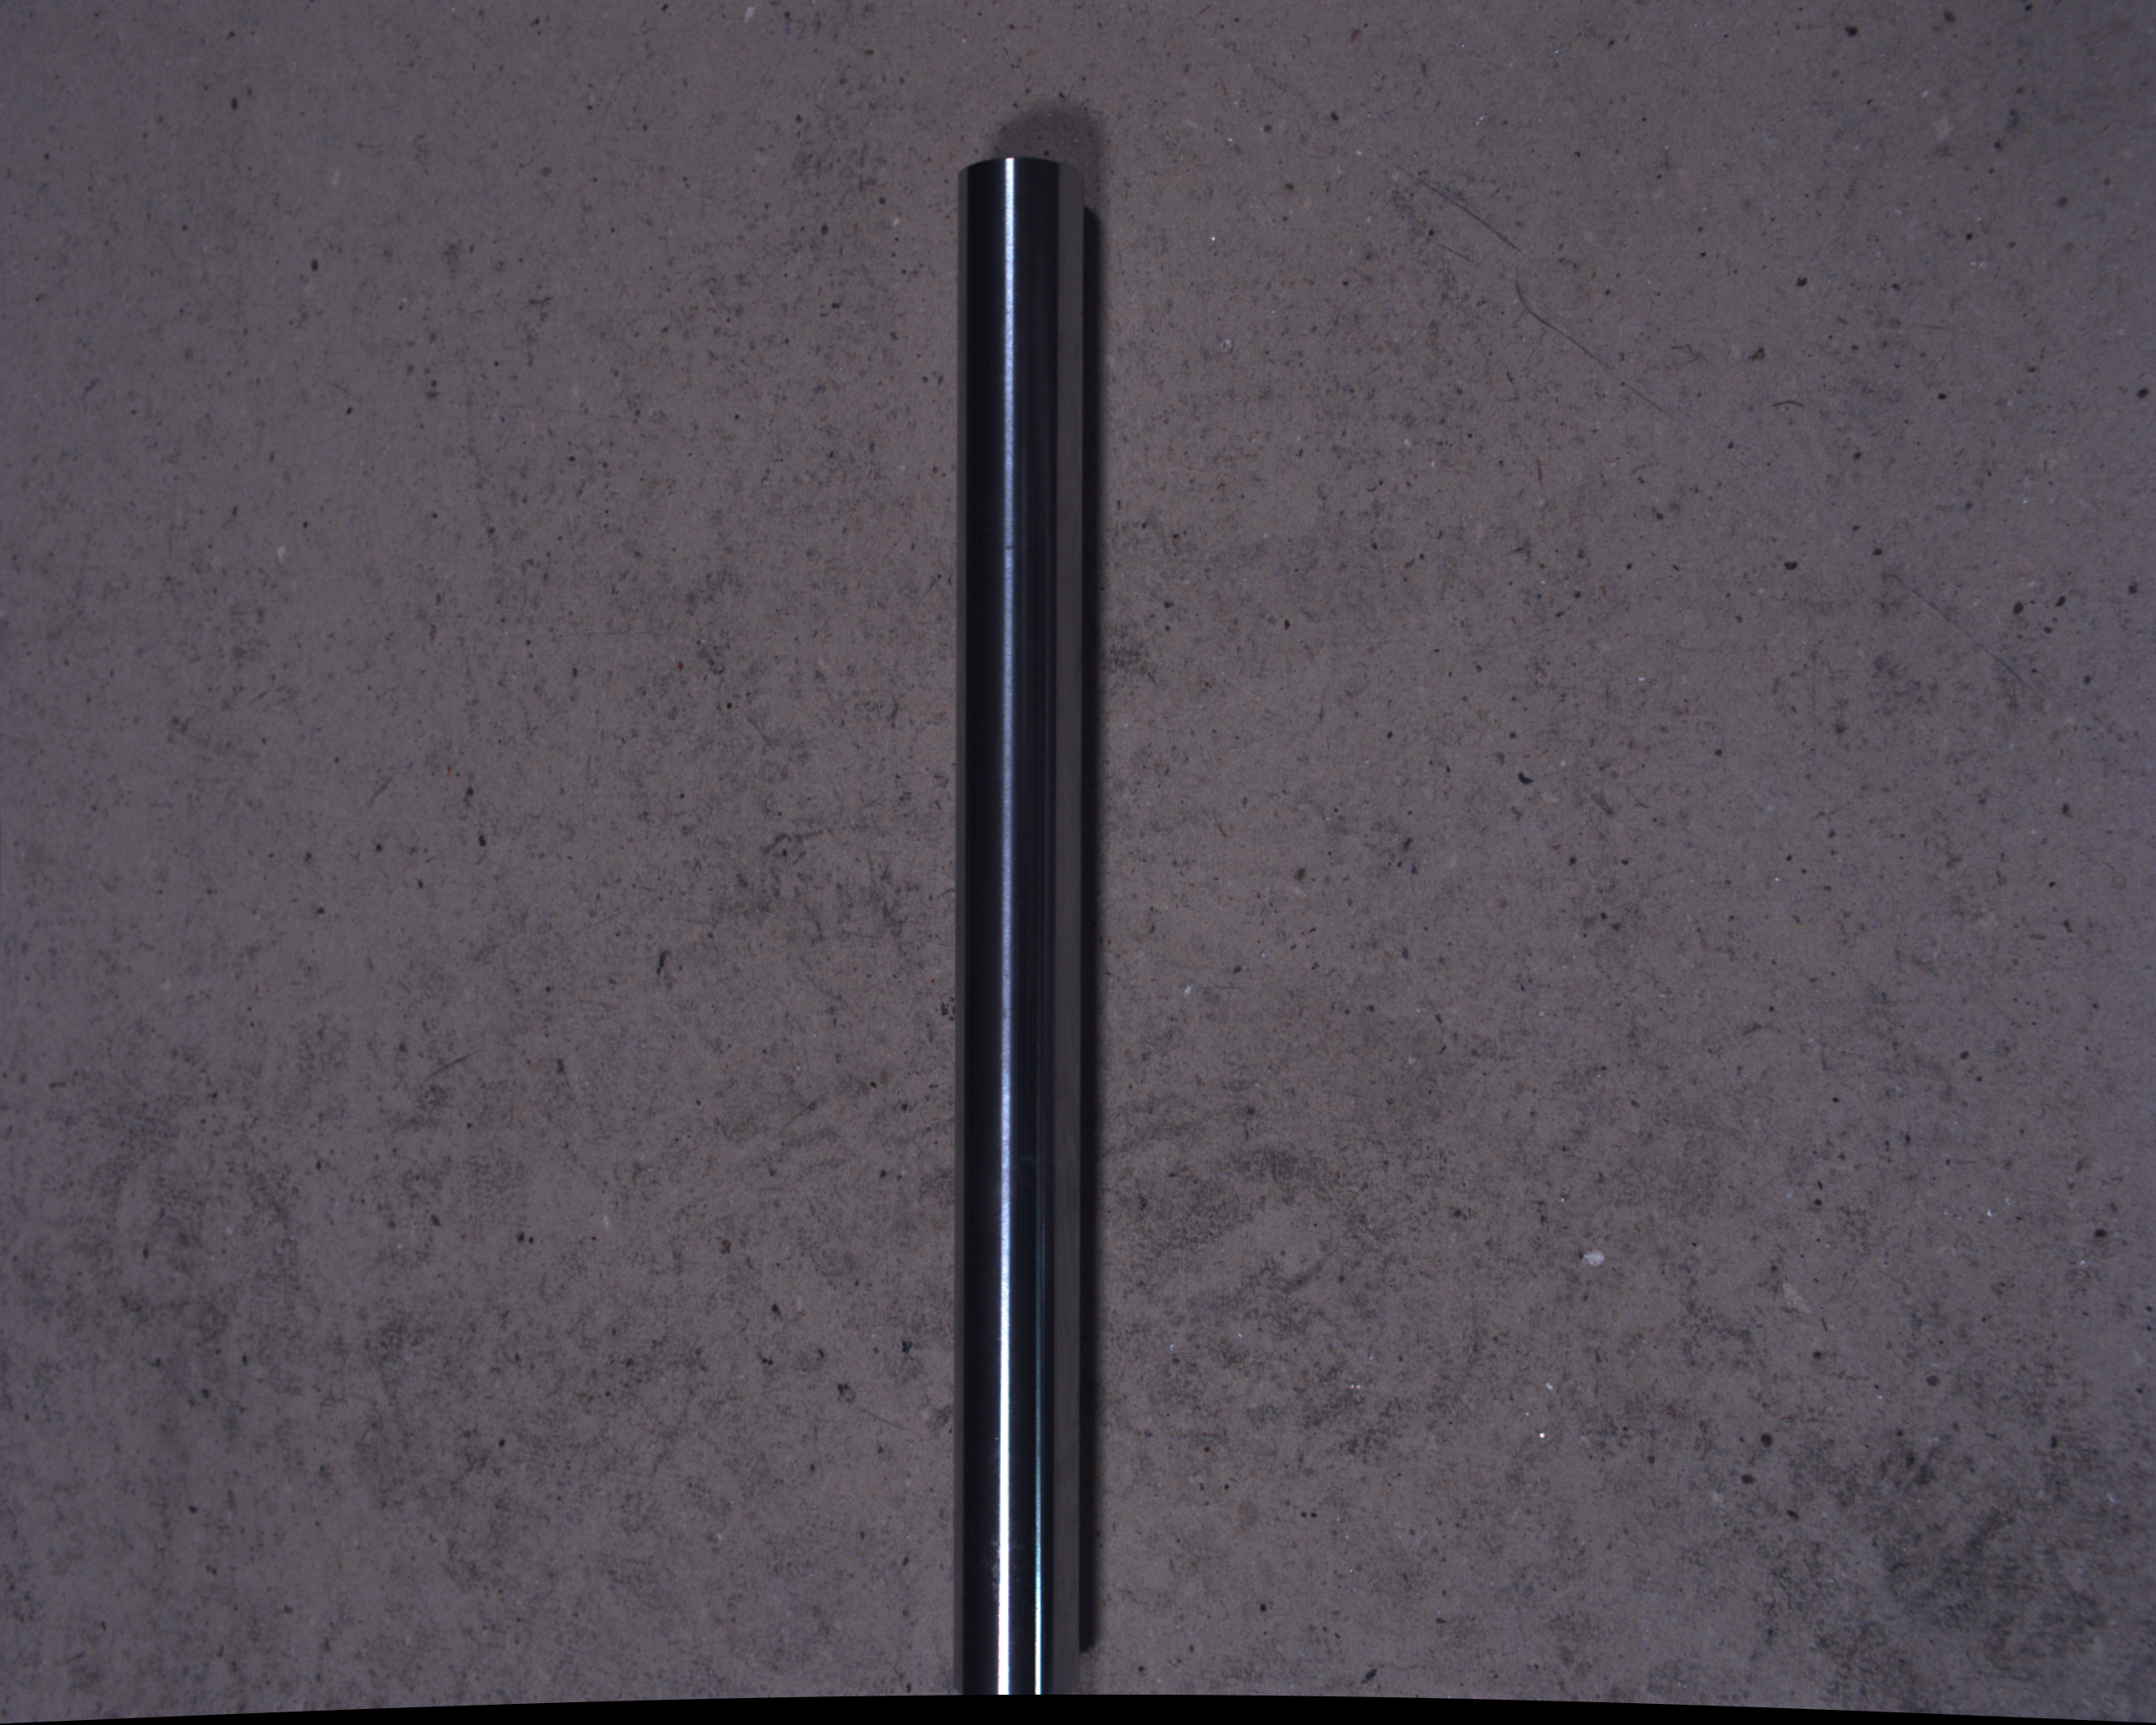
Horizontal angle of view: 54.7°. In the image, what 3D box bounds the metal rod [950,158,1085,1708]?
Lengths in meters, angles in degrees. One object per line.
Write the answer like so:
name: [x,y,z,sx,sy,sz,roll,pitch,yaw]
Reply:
metal rod: [-0.012,0.014,0.413,0.025,0.025,0.298,0,90,19]
